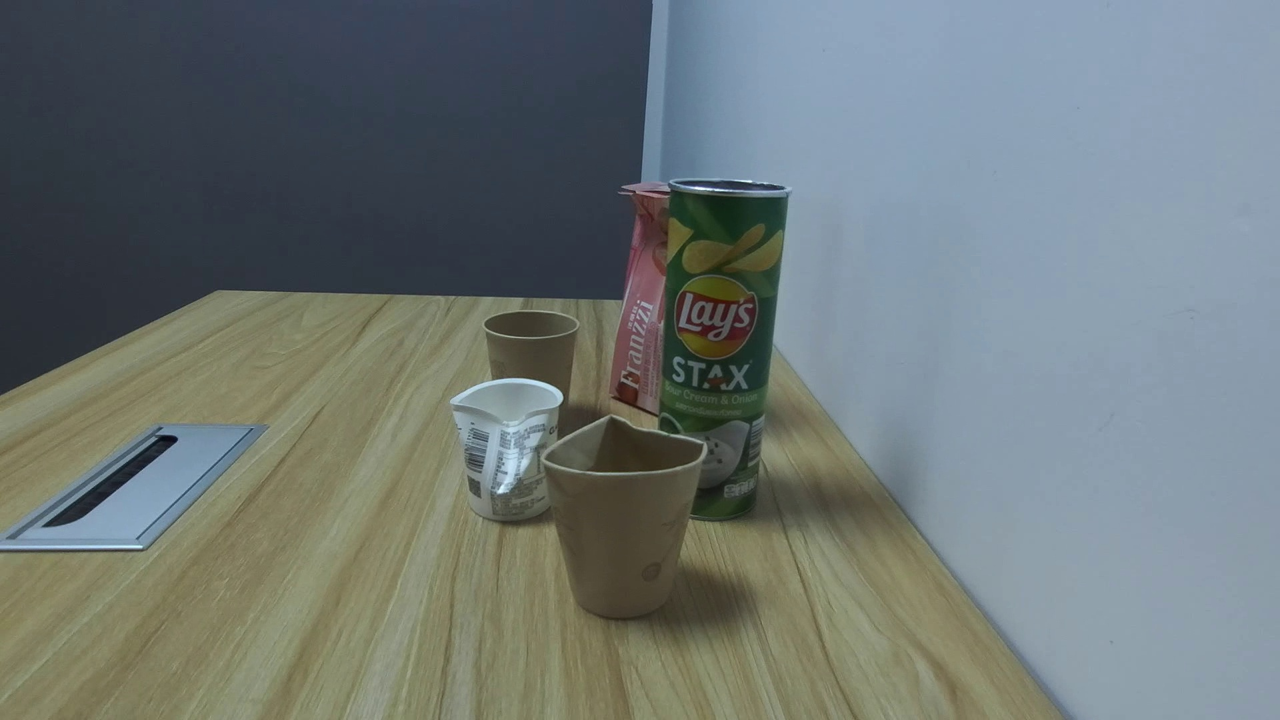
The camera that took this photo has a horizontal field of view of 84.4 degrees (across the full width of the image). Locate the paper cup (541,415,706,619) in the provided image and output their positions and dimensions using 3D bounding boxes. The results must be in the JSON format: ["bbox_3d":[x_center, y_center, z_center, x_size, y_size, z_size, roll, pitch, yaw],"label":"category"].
[{"bbox_3d":[-0.009,0.081,0.355,0.071,0.084,0.066,13,22,28],"label":"paper cup"}]

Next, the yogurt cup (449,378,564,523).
[{"bbox_3d":[-0.081,0.056,0.445,0.067,0.070,0.067,0,19,0],"label":"yogurt cup"}]

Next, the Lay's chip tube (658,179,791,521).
[{"bbox_3d":[0.048,-0.006,0.435,0.071,0.202,0.071,2,20,0],"label":"Lay's chip tube"}]
